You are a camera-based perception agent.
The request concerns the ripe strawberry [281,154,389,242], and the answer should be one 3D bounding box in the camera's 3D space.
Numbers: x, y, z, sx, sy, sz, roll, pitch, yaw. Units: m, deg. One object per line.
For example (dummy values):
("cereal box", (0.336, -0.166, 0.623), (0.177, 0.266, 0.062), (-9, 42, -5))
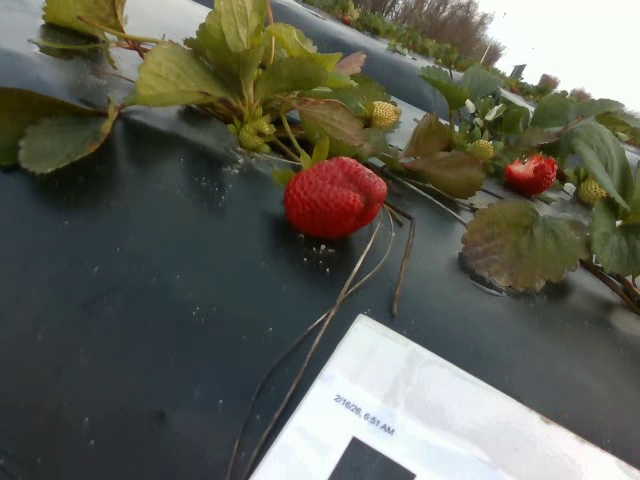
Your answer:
("ripe strawberry", (0.002, -0.005, 0.078), (0.017, 0.013, 0.015), (-30, 19, -22))
